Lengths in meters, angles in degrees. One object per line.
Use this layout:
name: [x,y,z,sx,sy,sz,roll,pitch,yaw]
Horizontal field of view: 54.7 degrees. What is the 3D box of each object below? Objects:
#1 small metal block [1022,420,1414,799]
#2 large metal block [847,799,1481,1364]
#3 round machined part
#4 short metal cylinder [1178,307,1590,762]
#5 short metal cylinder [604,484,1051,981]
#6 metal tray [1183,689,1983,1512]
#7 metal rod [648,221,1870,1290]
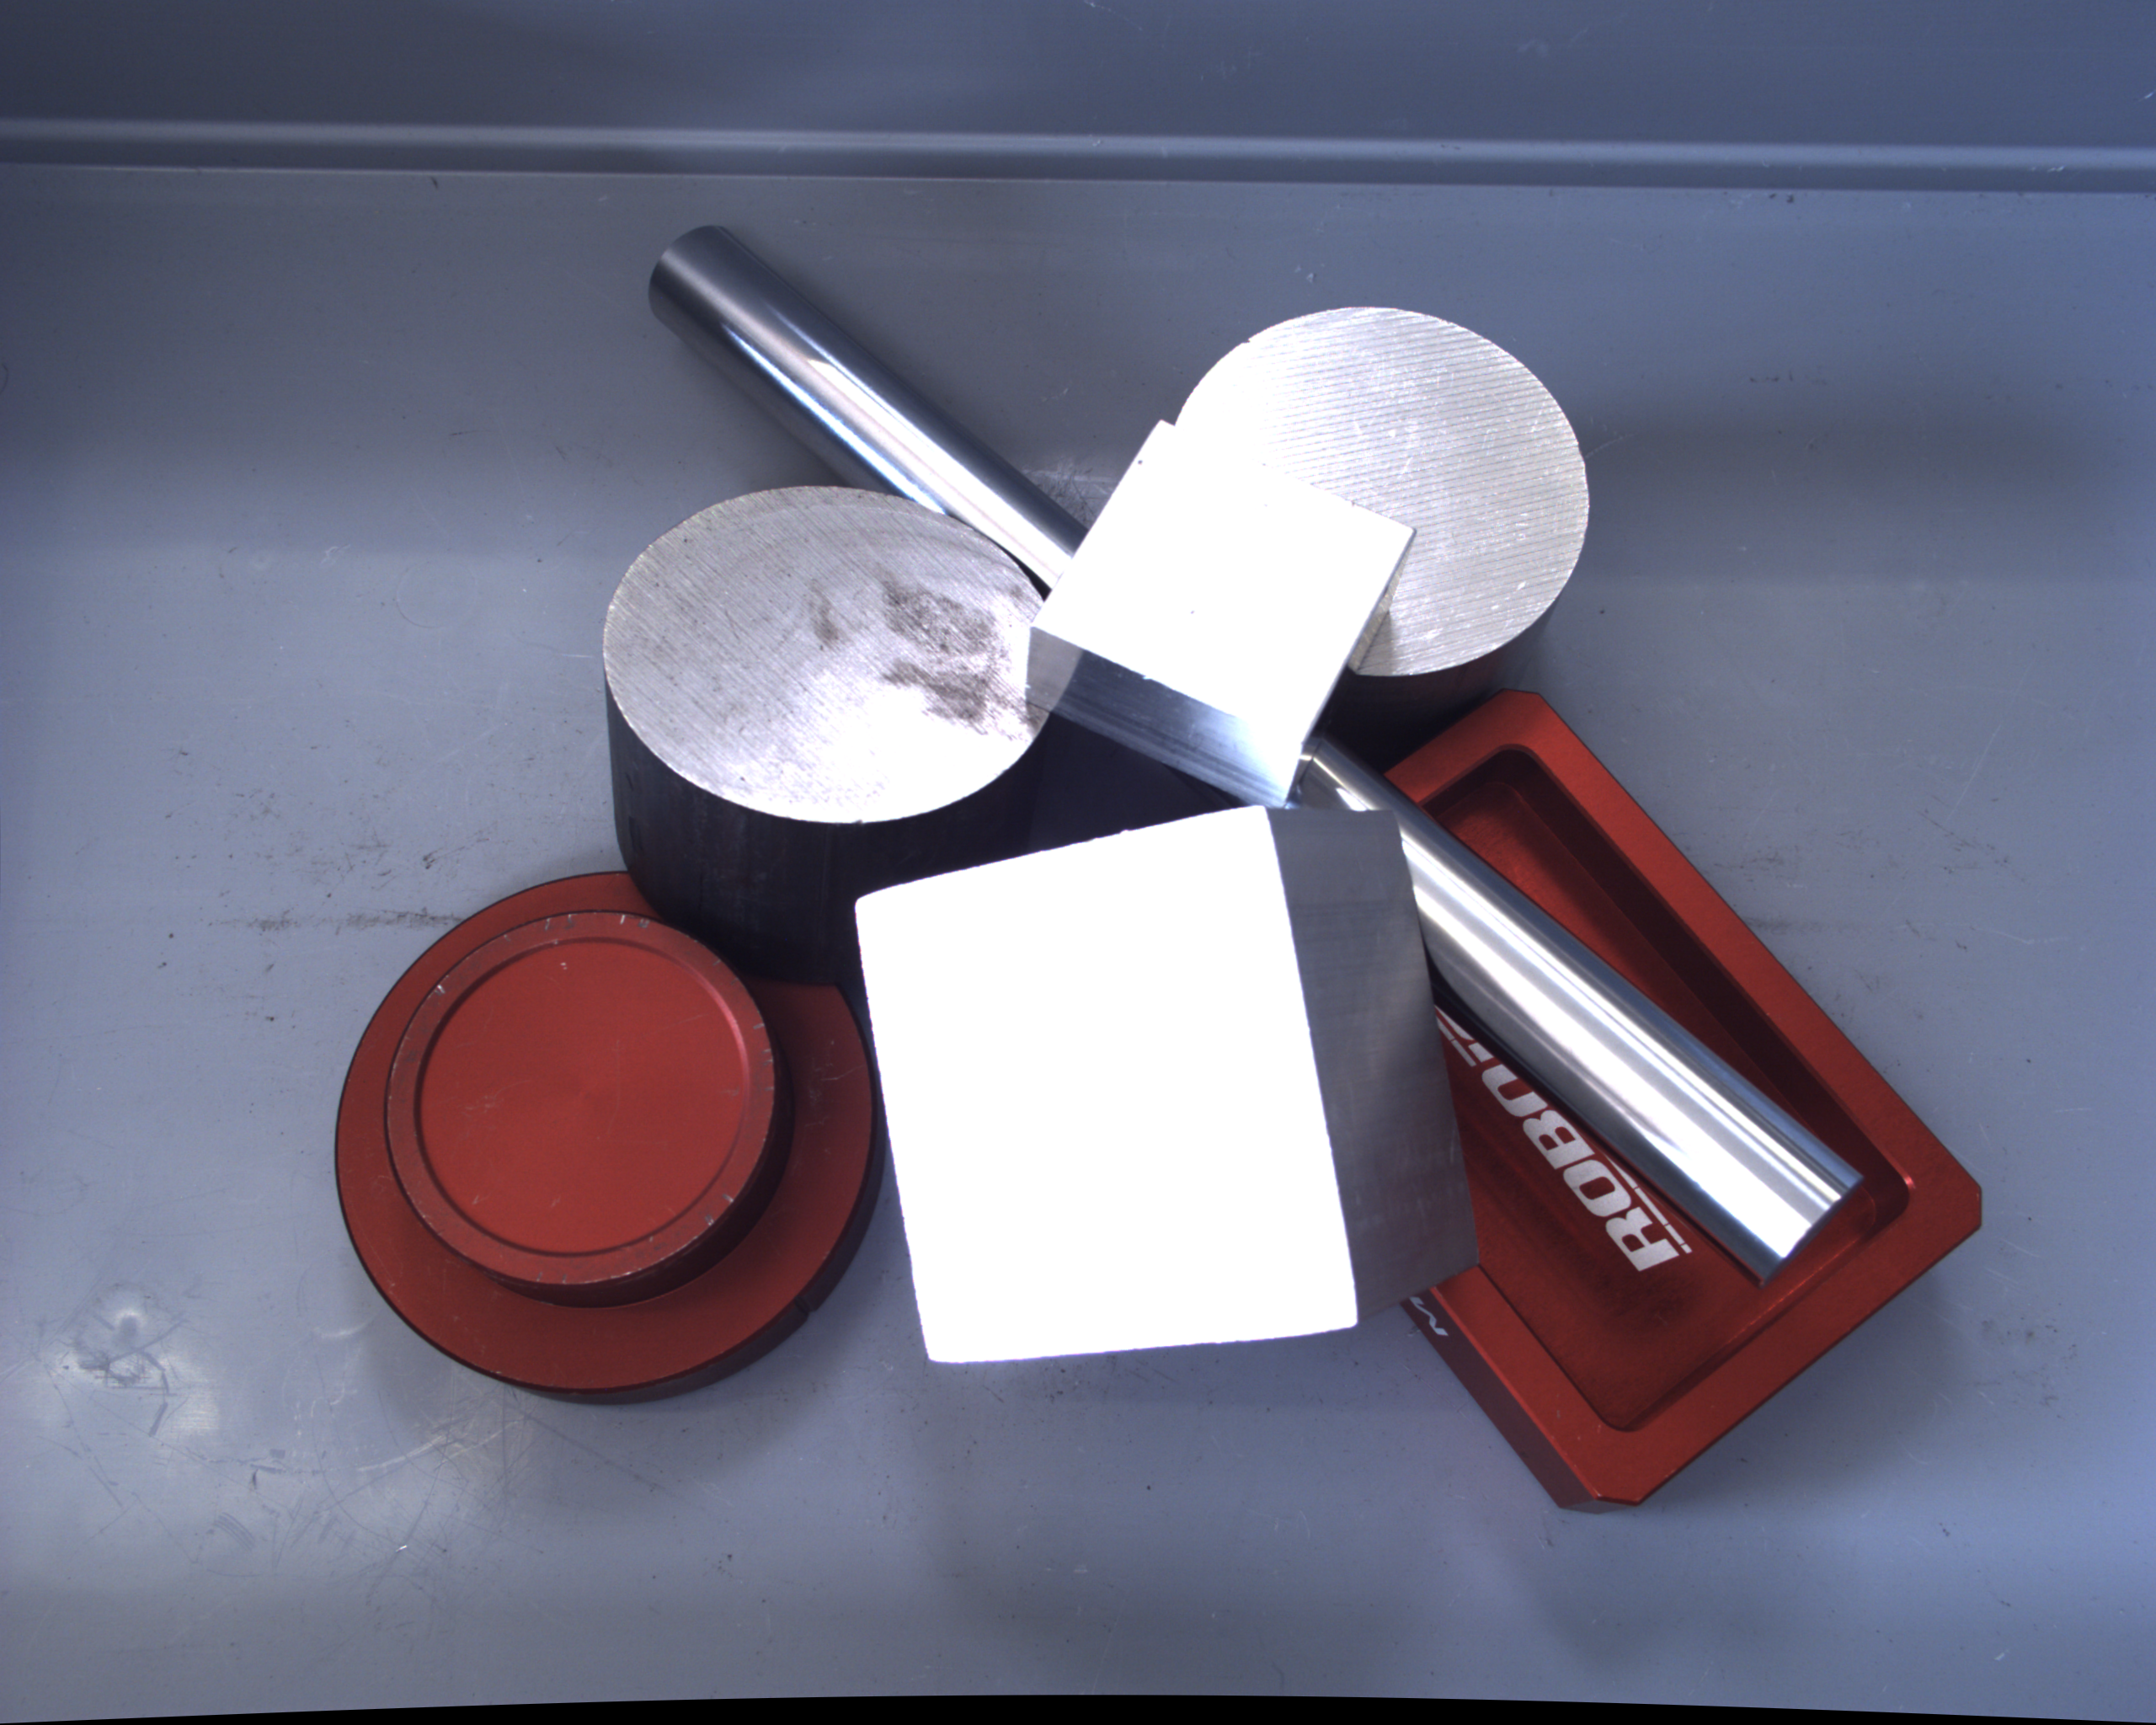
small metal block: [0.024,-0.043,0.368,0.050,0.025,0.050,25,64,9]
large metal block: [0.014,0.037,0.353,0.080,0.050,0.080,-13,84,30]
round machined part: [-0.086,0.047,0.380,0.099,0.042,0.098,0,70,0]
short metal cylinder: [0.057,-0.063,0.418,0.081,0.050,0.080,0,70,0]
short metal cylinder: [-0.047,-0.025,0.391,0.081,0.050,0.080,5,53,-6]
metal tray: [0.088,0.042,0.390,0.090,0.030,0.130,-35,74,-12]
metal rod: [0.018,-0.034,0.394,0.025,0.025,0.300,-41,66,-14]
